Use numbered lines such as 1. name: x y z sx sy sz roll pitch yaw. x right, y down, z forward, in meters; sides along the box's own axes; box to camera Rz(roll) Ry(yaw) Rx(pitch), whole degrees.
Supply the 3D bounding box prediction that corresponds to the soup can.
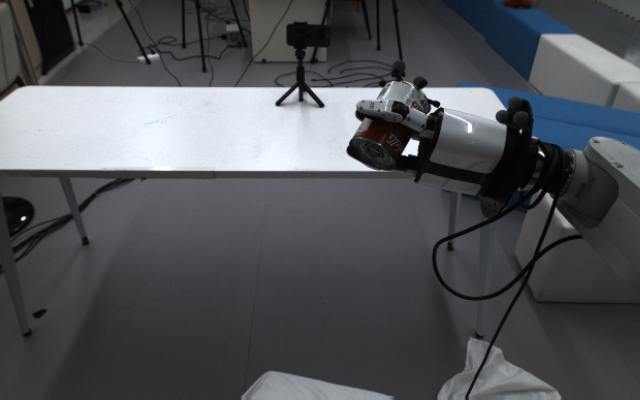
1. soup can: 0.093 -0.100 0.638 0.067 0.067 0.101 22 71 26
